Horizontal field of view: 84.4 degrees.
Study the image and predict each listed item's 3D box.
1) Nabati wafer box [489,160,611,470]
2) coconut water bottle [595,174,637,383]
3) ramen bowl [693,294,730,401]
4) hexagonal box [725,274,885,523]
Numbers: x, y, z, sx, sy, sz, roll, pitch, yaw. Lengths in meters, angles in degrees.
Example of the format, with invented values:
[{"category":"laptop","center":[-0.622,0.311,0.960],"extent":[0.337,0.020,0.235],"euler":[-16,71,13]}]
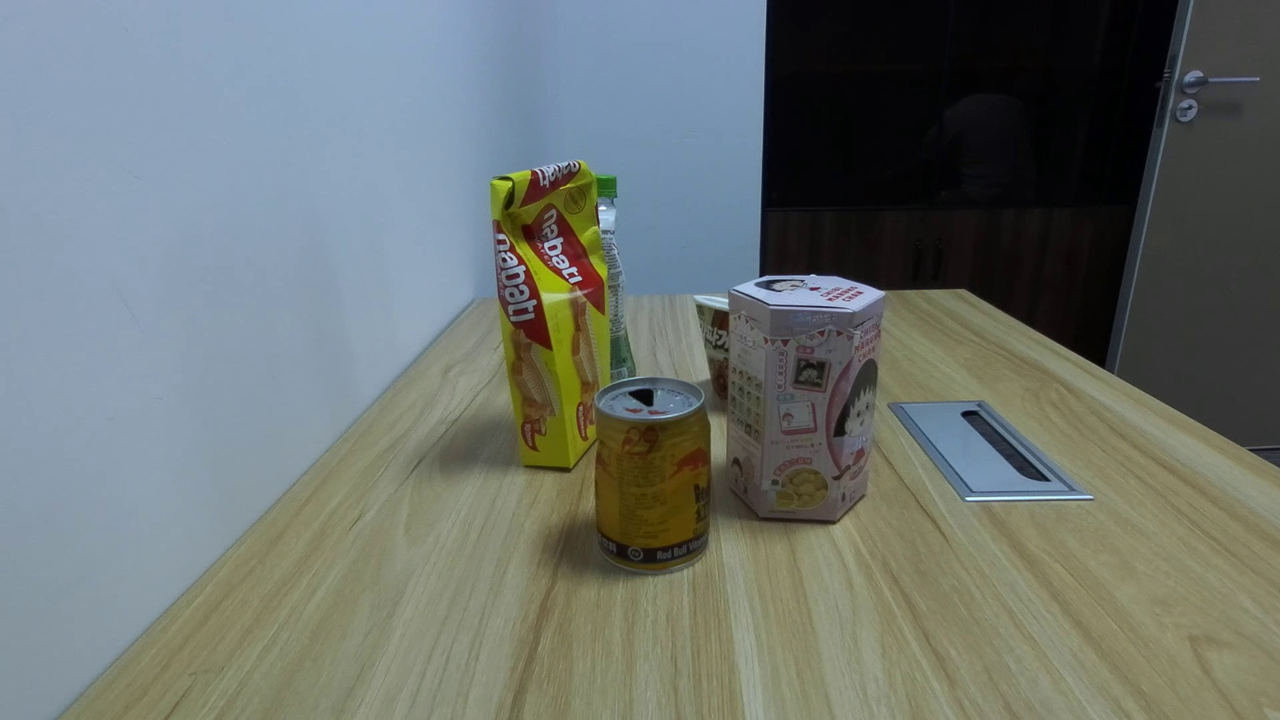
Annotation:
[{"category":"Nabati wafer box","center":[-0.057,-0.032,0.506],"extent":[0.042,0.205,0.113],"euler":[3,21,19]},{"category":"coconut water bottle","center":[-0.035,-0.071,0.631],"extent":[0.069,0.187,0.069],"euler":[-1,16,1]},{"category":"ramen bowl","center":[0.115,-0.009,0.623],"extent":[0.128,0.093,0.111],"euler":[-4,13,-8]},{"category":"hexagonal box","center":[0.101,0.022,0.436],"extent":[0.083,0.136,0.091],"euler":[13,24,36]}]
